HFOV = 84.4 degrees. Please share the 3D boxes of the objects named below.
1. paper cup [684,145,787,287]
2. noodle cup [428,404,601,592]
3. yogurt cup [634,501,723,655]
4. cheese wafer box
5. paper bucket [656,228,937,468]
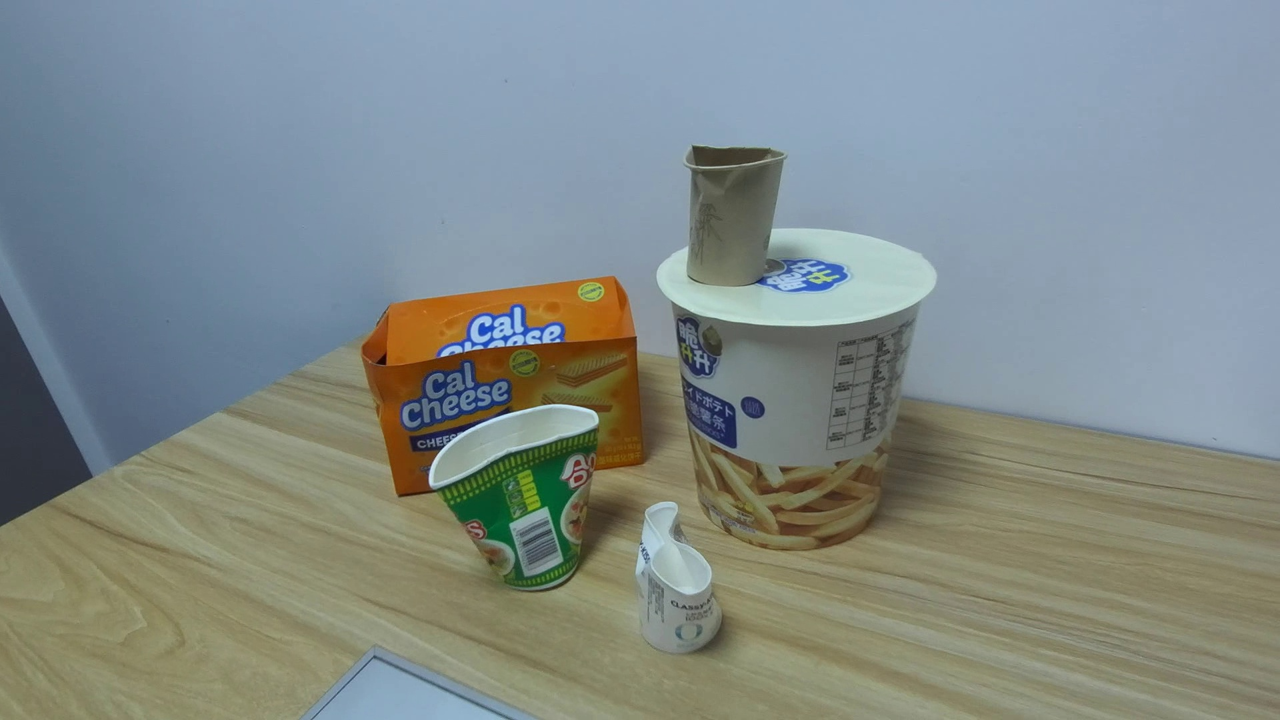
[{"bbox_3d":[0.062,-0.096,0.473,0.071,0.084,0.066,-2,27,-2],"label":"paper cup"},{"bbox_3d":[-0.079,0.099,0.502,0.115,0.111,0.070,-8,29,-8],"label":"noodle cup"},{"bbox_3d":[0.025,0.142,0.449,0.054,0.071,0.075,-25,34,-31],"label":"yogurt cup"},{"bbox_3d":[-0.118,0.021,0.649,0.231,0.132,0.152,-6,28,-5],"label":"cheese wafer box"},{"bbox_3d":[0.112,0.021,0.536,0.198,0.195,0.198,-3,28,2],"label":"paper bucket"}]
